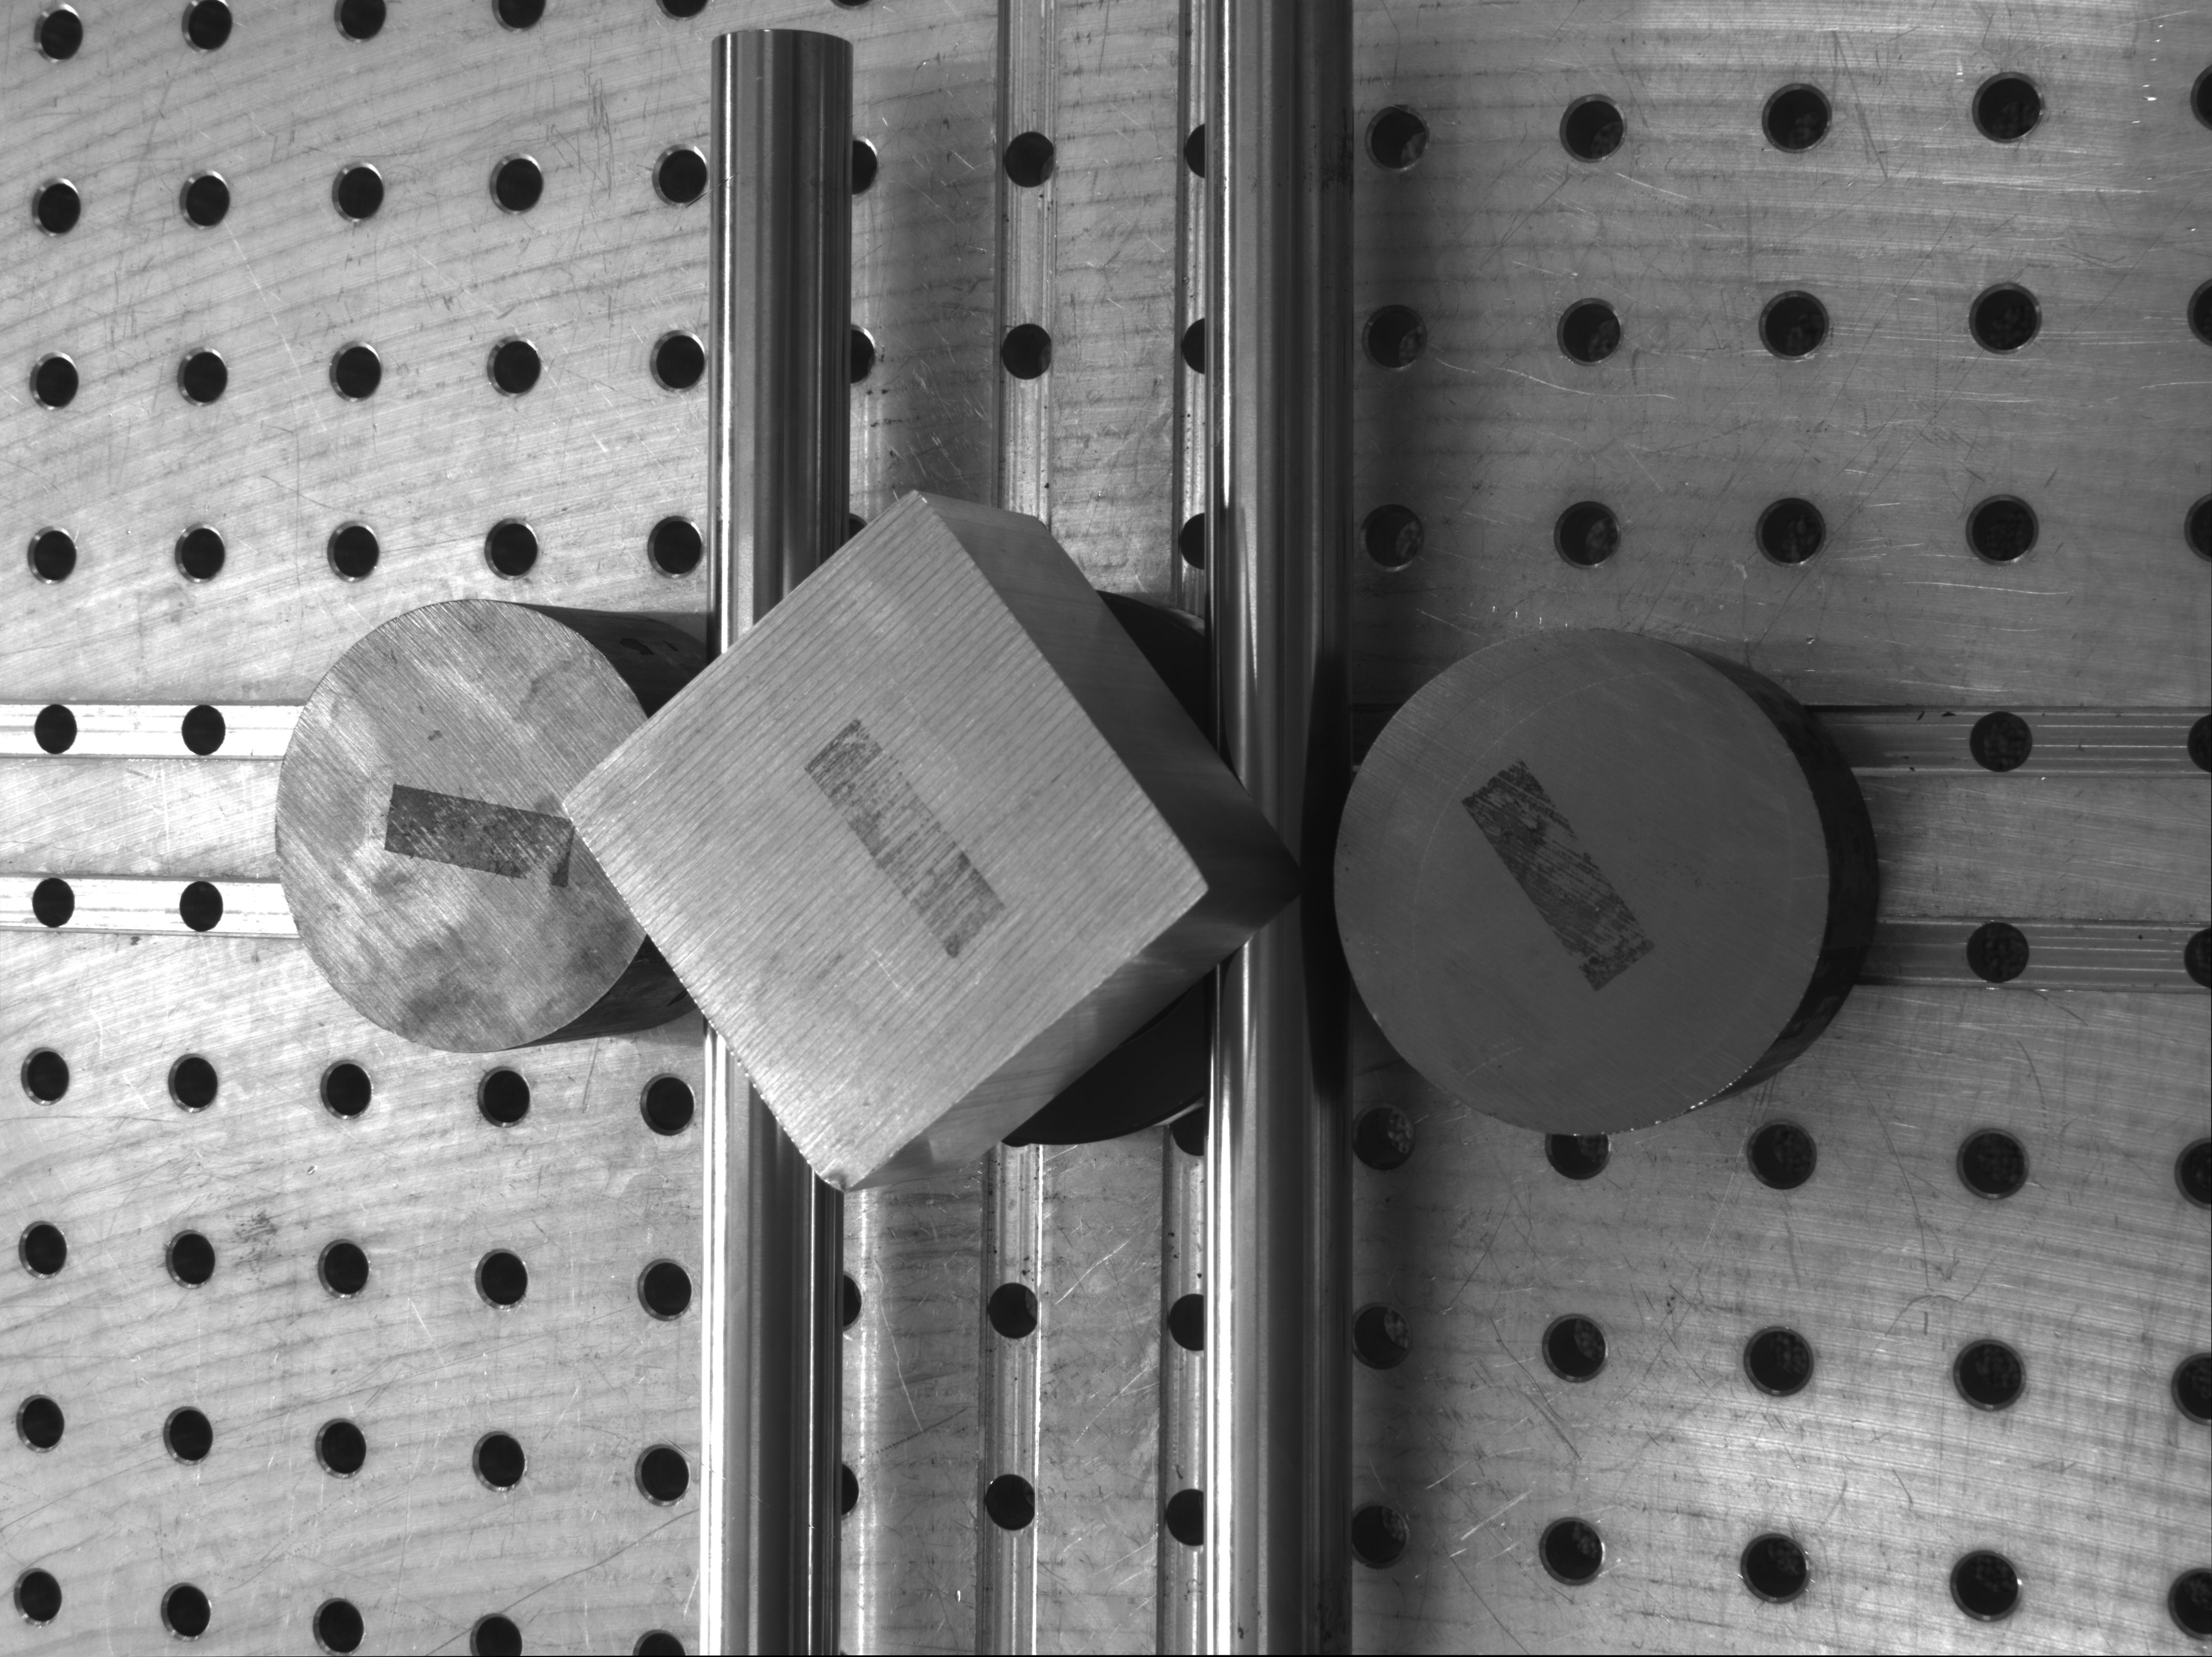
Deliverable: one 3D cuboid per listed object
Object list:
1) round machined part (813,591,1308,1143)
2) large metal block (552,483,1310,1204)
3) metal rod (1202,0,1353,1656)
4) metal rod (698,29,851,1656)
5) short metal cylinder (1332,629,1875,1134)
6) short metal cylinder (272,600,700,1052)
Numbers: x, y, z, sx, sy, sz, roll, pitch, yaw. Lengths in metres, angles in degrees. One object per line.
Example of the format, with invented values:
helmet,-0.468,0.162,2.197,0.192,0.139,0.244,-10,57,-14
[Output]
round machined part,-0.010,0.006,0.644,0.098,0.042,0.098,0,90,20
large metal block,-0.028,0.003,0.595,0.080,0.050,0.080,-40,77,16
metal rod,0.029,0.010,0.616,0.025,0.025,0.300,0,90,20
metal rod,-0.059,0.012,0.648,0.025,0.025,0.300,0,90,20
short metal cylinder,0.083,0.008,0.605,0.080,0.050,0.080,0,90,20
short metal cylinder,-0.105,0.000,0.673,0.080,0.050,0.080,0,90,20
